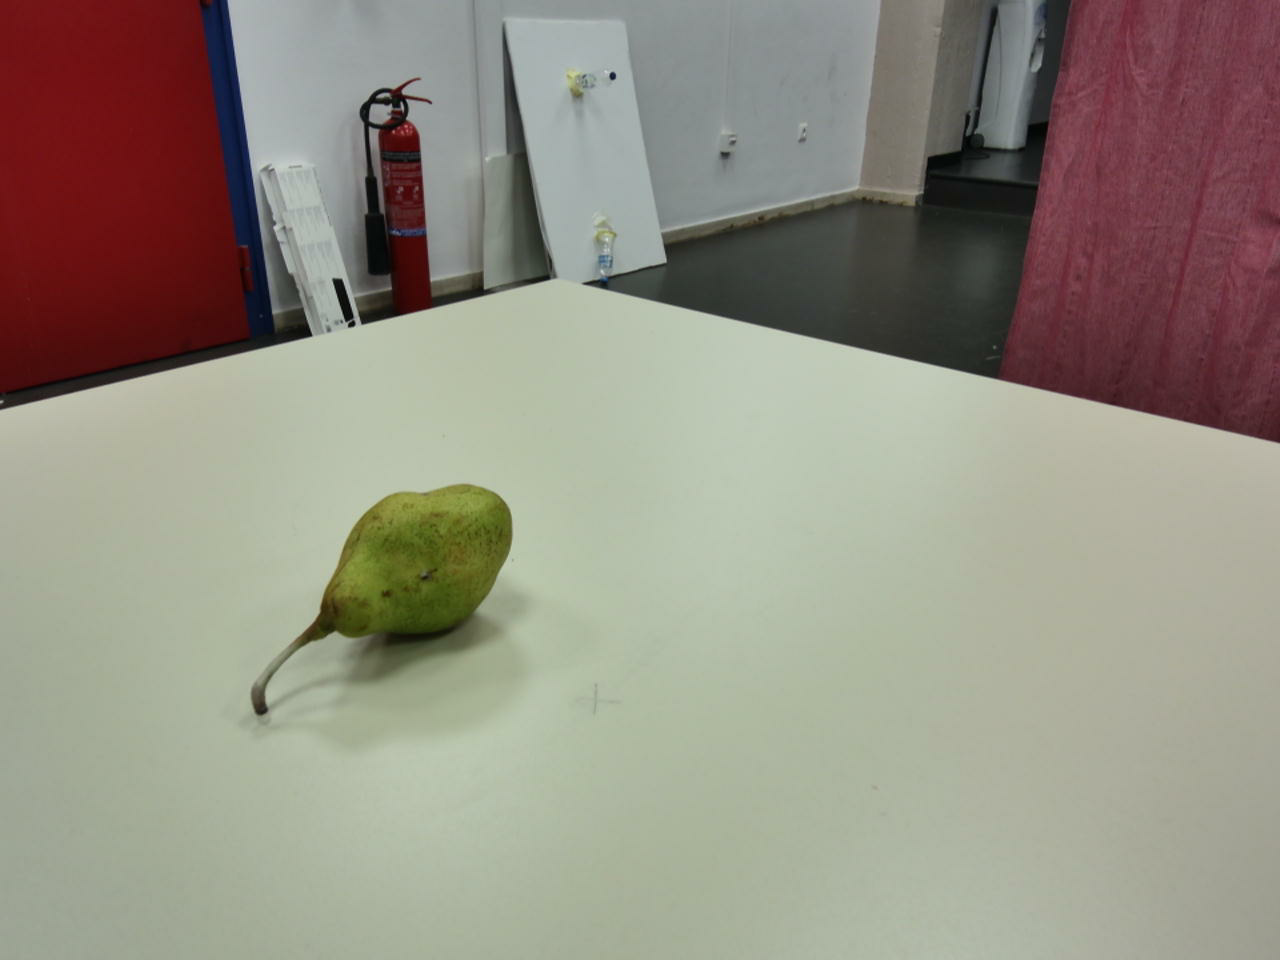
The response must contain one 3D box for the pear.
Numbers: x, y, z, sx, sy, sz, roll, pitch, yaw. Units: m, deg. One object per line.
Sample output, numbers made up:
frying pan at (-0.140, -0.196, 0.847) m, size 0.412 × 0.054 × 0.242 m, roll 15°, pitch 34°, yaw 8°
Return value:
pear at (-0.099, 0.035, 0.375) m, size 0.111 × 0.056 × 0.056 m, roll -15°, pitch 27°, yaw -33°
